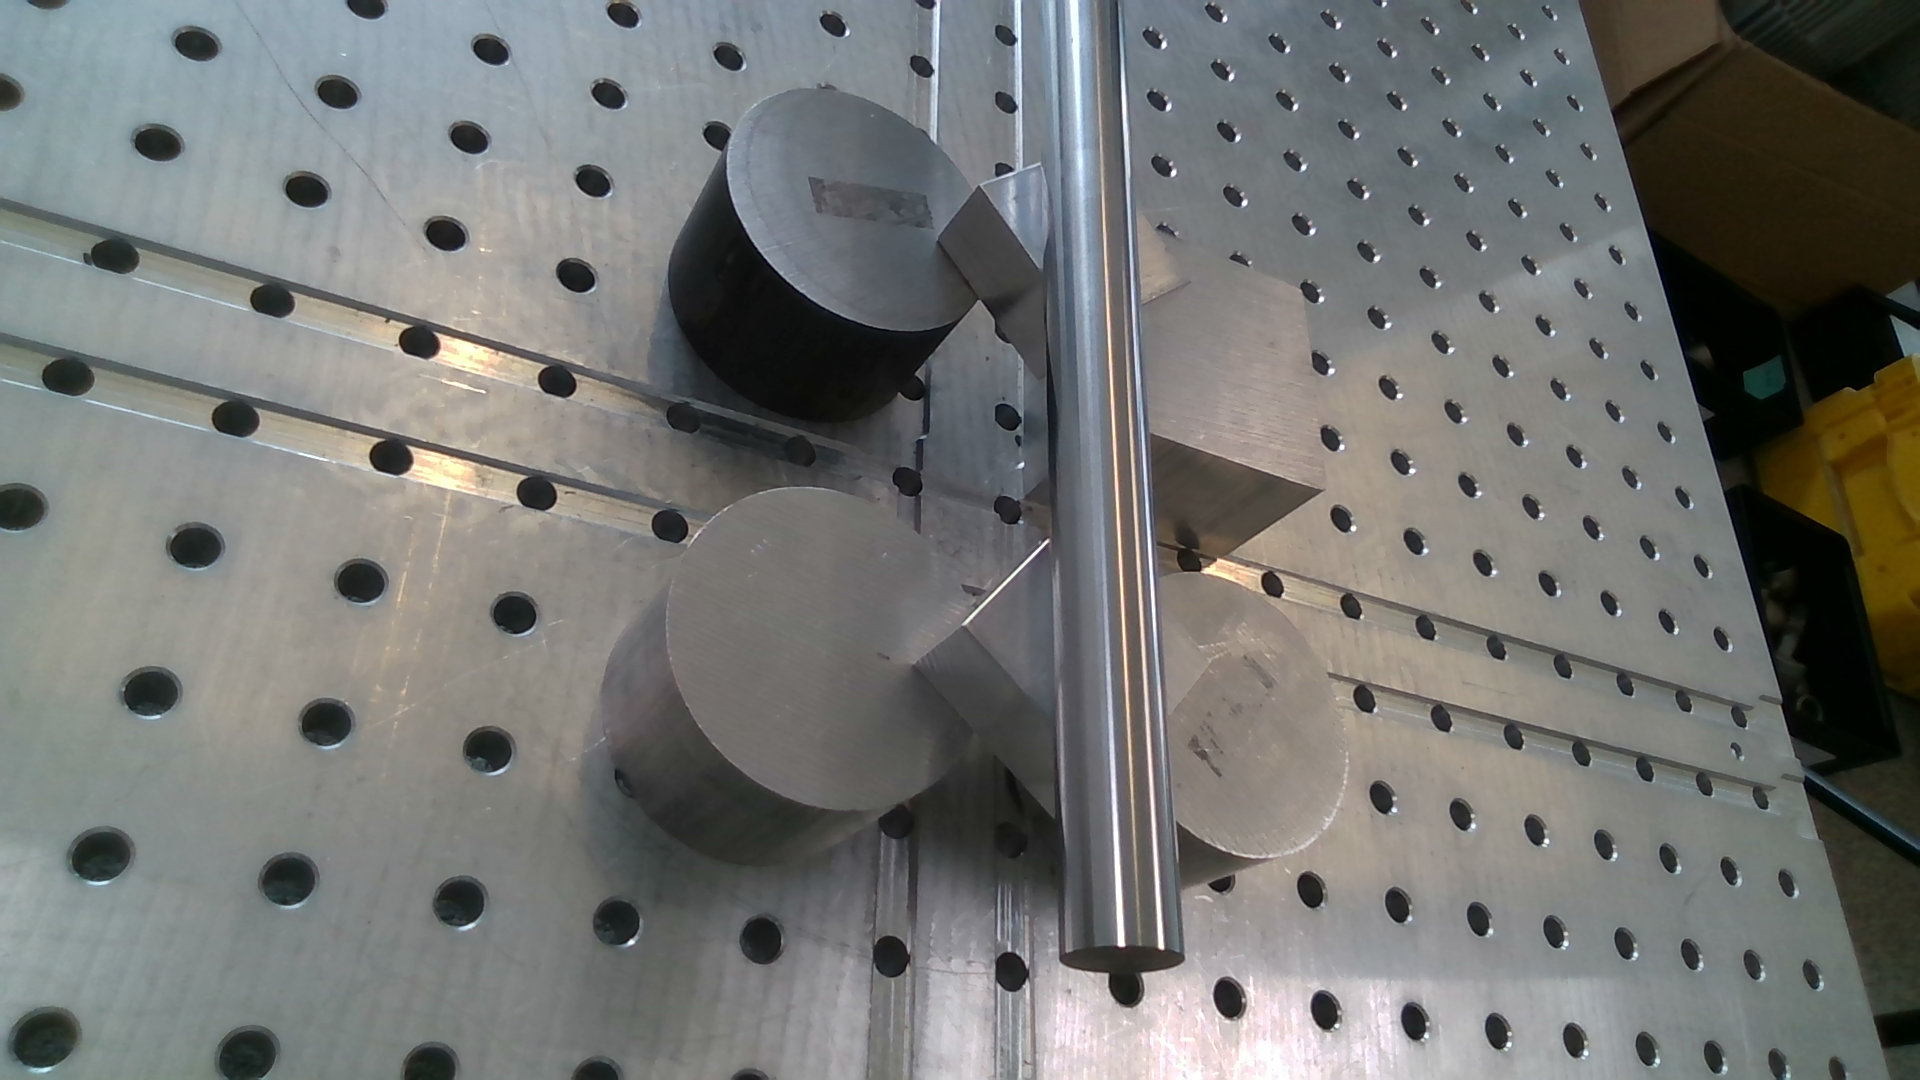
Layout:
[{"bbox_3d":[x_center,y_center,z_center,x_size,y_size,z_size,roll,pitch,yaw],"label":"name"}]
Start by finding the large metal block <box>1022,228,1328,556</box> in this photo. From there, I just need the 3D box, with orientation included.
[{"bbox_3d":[0.067,-0.050,0.448,0.080,0.050,0.080,15,58,-24],"label":"large metal block"}]

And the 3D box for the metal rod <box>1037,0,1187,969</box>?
[{"bbox_3d":[0.034,-0.048,0.346,0.025,0.025,0.299,15,58,-25],"label":"metal rod"}]

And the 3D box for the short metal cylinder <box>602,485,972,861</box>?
[{"bbox_3d":[-0.041,0.034,0.337,0.080,0.050,0.080,14,59,-25],"label":"short metal cylinder"}]

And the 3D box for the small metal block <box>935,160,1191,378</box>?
[{"bbox_3d":[0.030,-0.081,0.394,0.050,0.025,0.050,-30,83,-39],"label":"small metal block"}]

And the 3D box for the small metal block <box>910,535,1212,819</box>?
[{"bbox_3d":[0.025,0.029,0.332,0.050,0.025,0.050,48,51,-1],"label":"small metal block"}]

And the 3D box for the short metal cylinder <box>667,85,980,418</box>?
[{"bbox_3d":[-0.038,-0.083,0.400,0.080,0.050,0.080,14,59,-25],"label":"short metal cylinder"}]

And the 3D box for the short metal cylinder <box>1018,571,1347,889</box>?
[{"bbox_3d":[0.061,0.055,0.388,0.080,0.050,0.080,14,59,-25],"label":"short metal cylinder"}]
